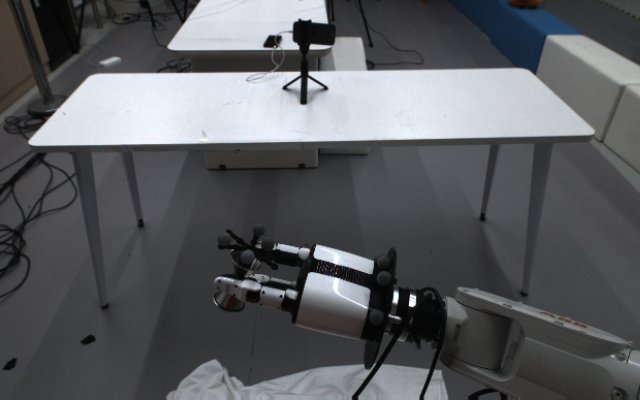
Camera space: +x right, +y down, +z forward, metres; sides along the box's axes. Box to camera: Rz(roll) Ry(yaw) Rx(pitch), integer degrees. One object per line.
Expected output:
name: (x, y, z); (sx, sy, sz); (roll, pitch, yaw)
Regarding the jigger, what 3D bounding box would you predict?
jigger: (-0.108, 0.106, 0.631); (0.043, 0.071, 0.043); (23, 19, -8)
